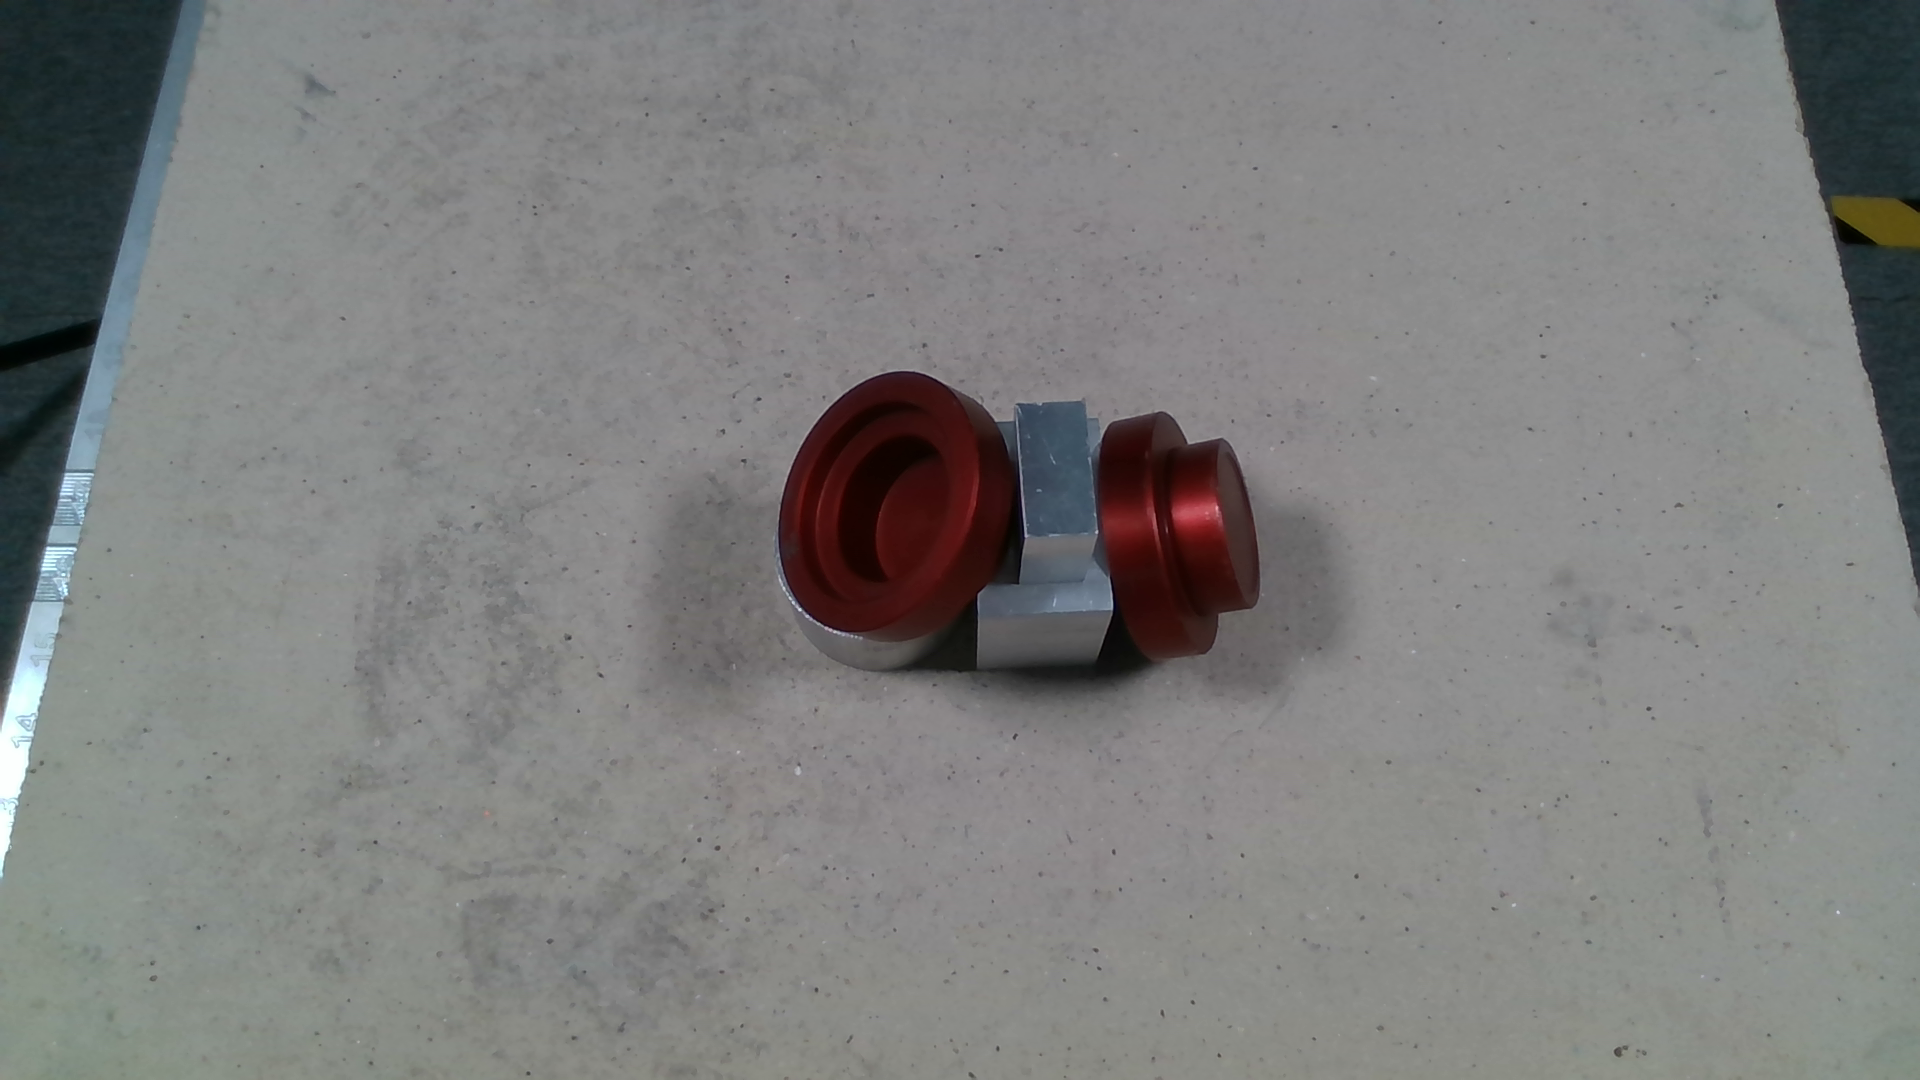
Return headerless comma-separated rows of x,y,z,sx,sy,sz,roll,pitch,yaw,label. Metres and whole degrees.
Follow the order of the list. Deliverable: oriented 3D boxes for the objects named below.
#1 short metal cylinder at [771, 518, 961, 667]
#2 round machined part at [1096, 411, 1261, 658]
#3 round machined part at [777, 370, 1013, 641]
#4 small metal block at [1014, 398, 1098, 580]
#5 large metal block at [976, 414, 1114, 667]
-0.035,0.010,0.573,0.080,0.050,0.080,0,70,0,short metal cylinder
0.090,-0.004,0.547,0.042,0.098,0.098,-11,69,23,round machined part
-0.019,-0.010,0.513,0.098,0.042,0.098,-14,67,36,round machined part
0.033,-0.017,0.495,0.025,0.050,0.050,-3,70,-1,small metal block
0.030,0.003,0.557,0.050,0.080,0.080,-2,70,-1,large metal block
